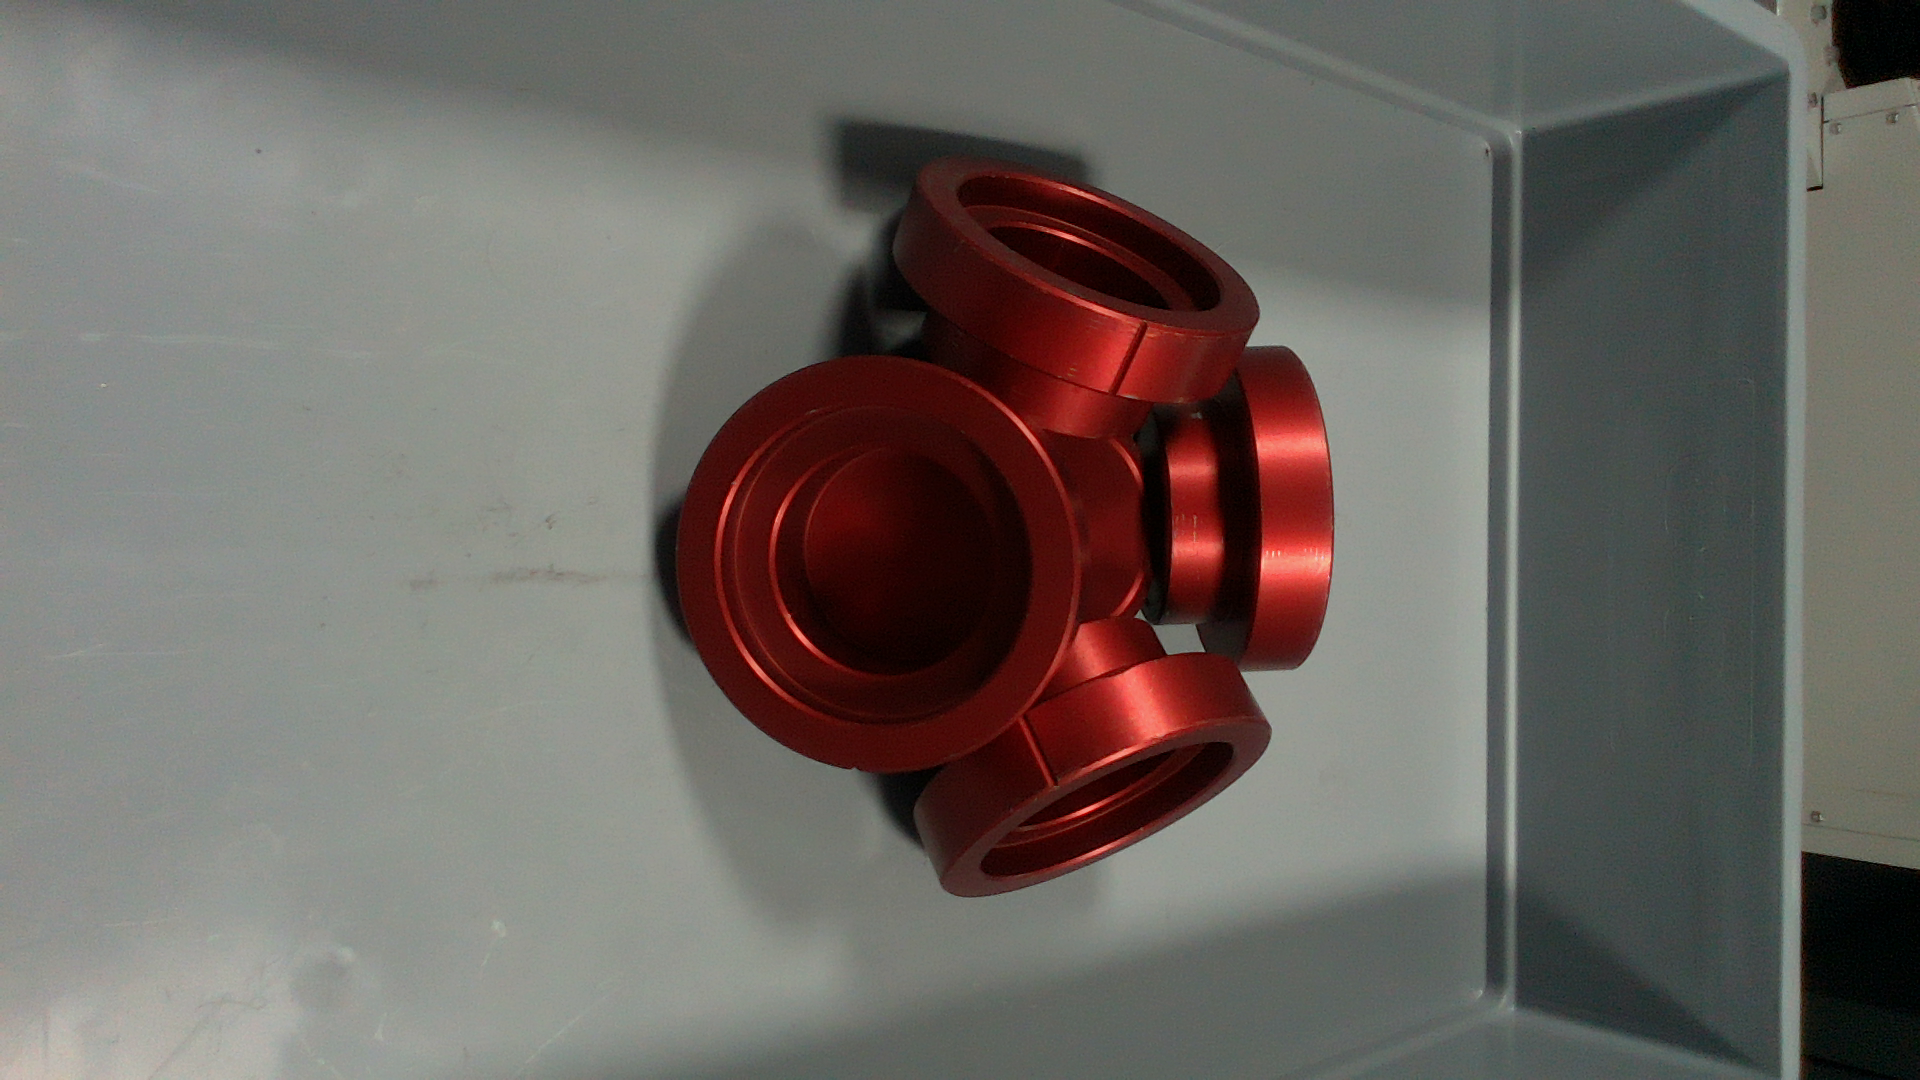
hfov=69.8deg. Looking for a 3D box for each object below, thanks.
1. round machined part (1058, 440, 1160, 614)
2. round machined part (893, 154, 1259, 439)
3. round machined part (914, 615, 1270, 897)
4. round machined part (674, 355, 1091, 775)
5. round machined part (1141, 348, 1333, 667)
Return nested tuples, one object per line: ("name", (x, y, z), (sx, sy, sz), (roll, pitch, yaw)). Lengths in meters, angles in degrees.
("round machined part", (0.019, -0.003, 0.391), (0.098, 0.042, 0.098), (0, 90, -40))
("round machined part", (0.028, -0.064, 0.375), (0.098, 0.098, 0.042), (-5, 131, -40))
("round machined part", (0.032, 0.057, 0.378), (0.098, 0.098, 0.042), (-2, 55, -40))
("round machined part", (-0.016, 0.005, 0.339), (0.042, 0.098, 0.098), (-22, 108, -76))
("round machined part", (0.077, -0.009, 0.417), (0.042, 0.098, 0.098), (-2, 92, -4))
